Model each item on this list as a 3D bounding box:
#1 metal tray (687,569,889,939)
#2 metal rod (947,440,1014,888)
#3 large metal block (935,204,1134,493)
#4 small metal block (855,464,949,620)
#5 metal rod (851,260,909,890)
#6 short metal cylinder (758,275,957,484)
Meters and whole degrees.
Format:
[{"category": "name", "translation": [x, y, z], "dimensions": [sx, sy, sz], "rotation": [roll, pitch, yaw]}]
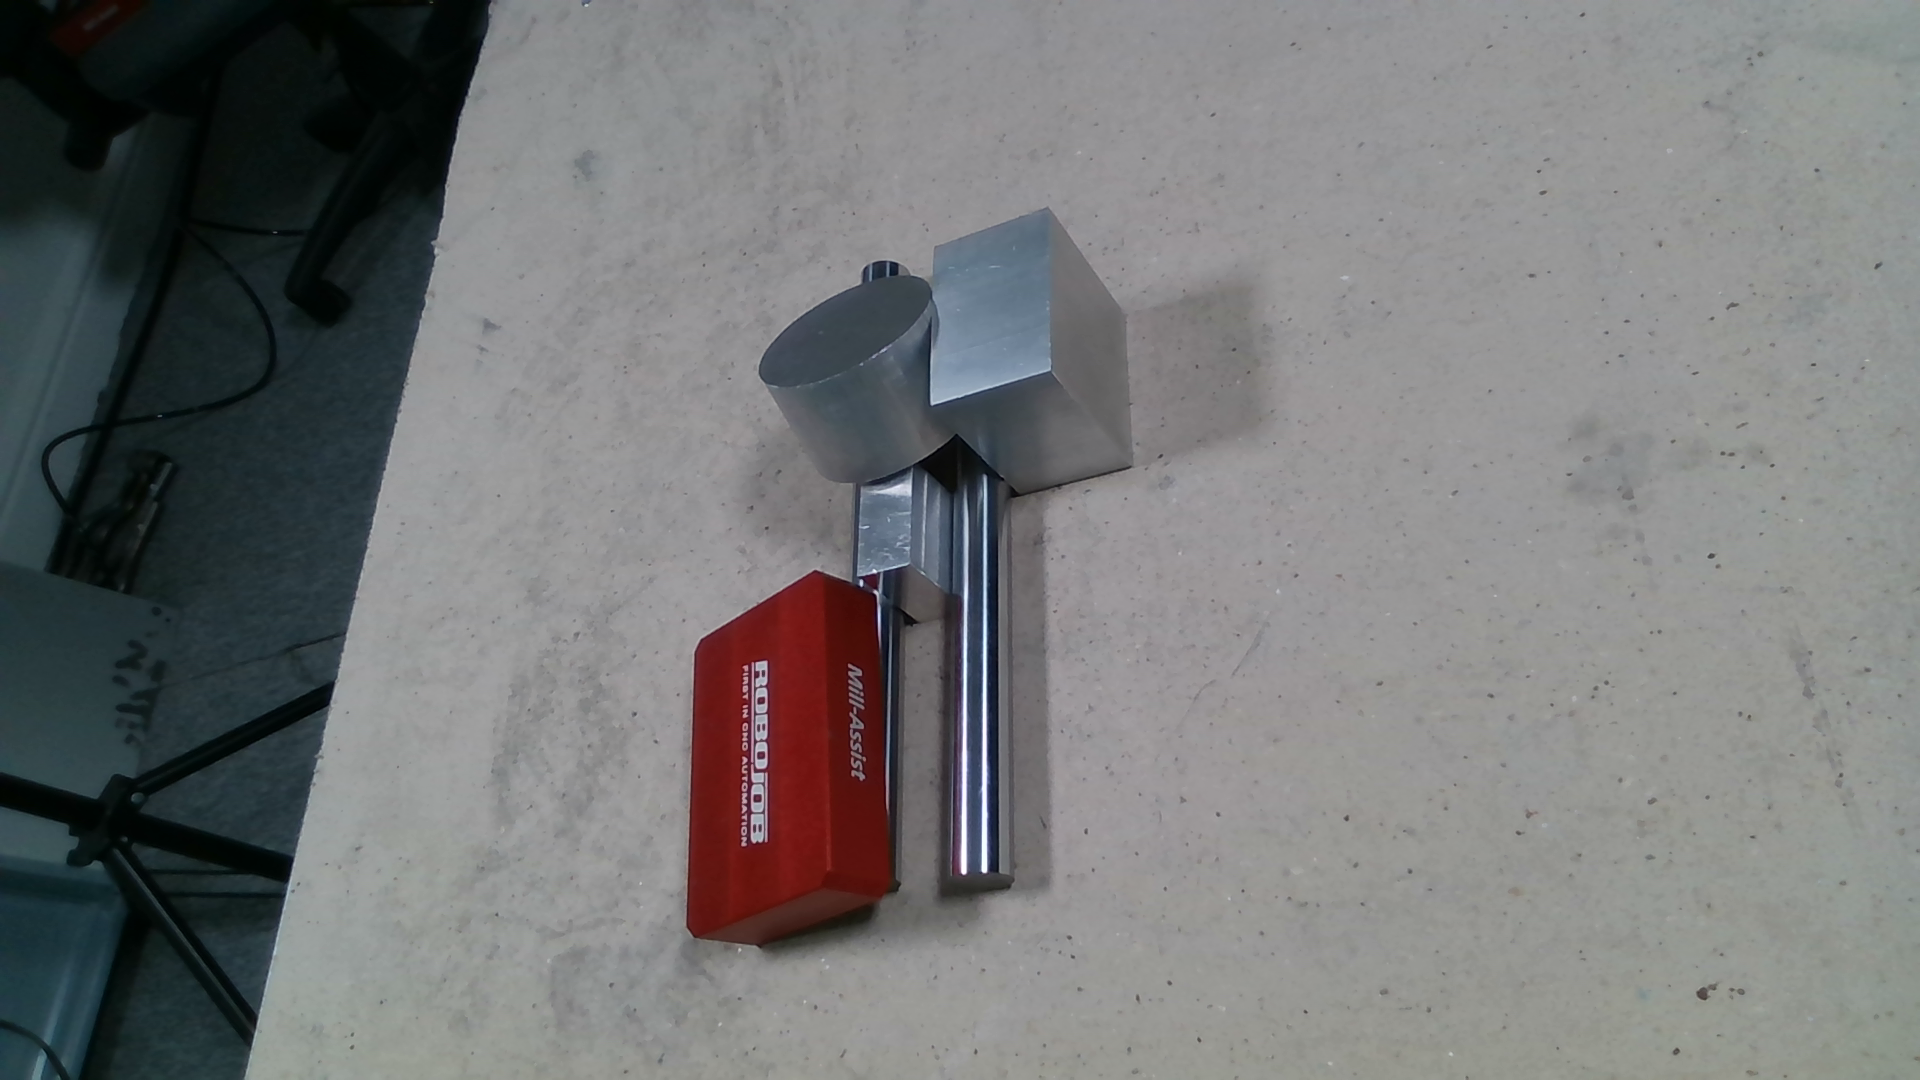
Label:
[{"category": "metal tray", "translation": [-0.072, 0.088, 0.562], "dimensions": [0.090, 0.030, 0.130], "rotation": [-29, 53, 37]}, {"category": "metal rod", "translation": [0.009, -0.005, 0.583], "dimensions": [0.025, 0.025, 0.299], "rotation": [-14, 59, 25]}, {"category": "large metal block", "translation": [0.032, -0.077, 0.572], "dimensions": [0.050, 0.080, 0.080], "rotation": [-14, 59, 25]}, {"category": "small metal block", "translation": [-0.019, 0.000, 0.581], "dimensions": [0.025, 0.050, 0.050], "rotation": [-14, 59, 25]}, {"category": "metal rod", "translation": [-0.036, 0.002, 0.607], "dimensions": [0.025, 0.025, 0.299], "rotation": [-15, 59, 25]}, {"category": "short metal cylinder", "translation": [-0.038, -0.069, 0.584], "dimensions": [0.080, 0.050, 0.080], "rotation": [-20, 33, 14]}]
